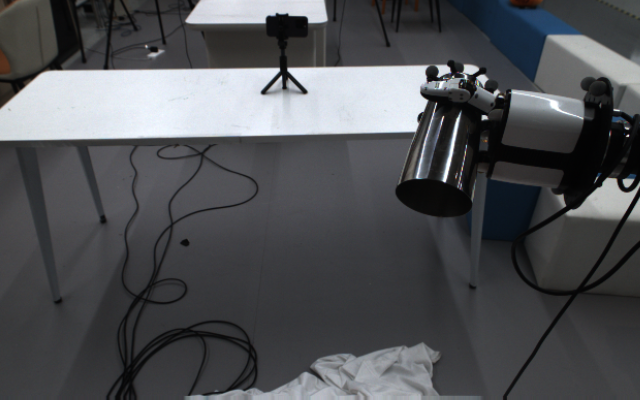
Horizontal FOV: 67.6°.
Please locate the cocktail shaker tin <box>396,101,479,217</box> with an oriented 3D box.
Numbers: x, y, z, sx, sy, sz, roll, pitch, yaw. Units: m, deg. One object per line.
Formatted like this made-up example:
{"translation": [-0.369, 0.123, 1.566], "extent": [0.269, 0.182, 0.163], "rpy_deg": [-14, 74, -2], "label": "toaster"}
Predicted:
{"translation": [0.162, -0.078, 0.609], "extent": [0.093, 0.093, 0.170], "rpy_deg": [13, 65, 15], "label": "cocktail shaker tin"}
